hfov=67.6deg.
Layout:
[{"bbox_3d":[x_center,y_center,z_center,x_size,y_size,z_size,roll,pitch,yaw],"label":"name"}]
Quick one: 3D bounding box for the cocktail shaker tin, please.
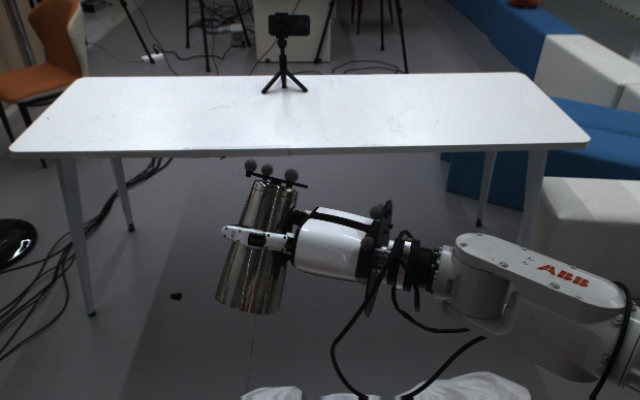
[{"bbox_3d":[-0.082,0.063,0.676,0.093,0.170,0.093,13,2,0],"label":"cocktail shaker tin"}]
